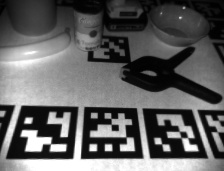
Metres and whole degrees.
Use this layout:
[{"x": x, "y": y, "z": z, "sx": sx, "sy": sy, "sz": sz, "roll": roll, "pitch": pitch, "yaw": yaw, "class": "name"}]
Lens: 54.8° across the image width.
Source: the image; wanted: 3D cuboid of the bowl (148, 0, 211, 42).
[{"x": 0.168, "y": -0.164, "z": 0.563, "sx": 0.162, "sy": 0.055, "sz": 0.161, "roll": 3, "pitch": 52, "yaw": -3, "class": "bowl"}]

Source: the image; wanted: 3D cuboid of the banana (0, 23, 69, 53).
[{"x": -0.183, "y": -0.104, "z": 0.488, "sx": 0.199, "sy": 0.039, "sz": 0.073, "roll": -17, "pitch": 47, "yaw": -21, "class": "banana"}]

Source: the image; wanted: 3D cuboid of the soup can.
[{"x": -0.057, "y": -0.158, "z": 0.504, "sx": 0.068, "sy": 0.102, "sz": 0.067, "roll": 3, "pitch": 43, "yaw": -2, "class": "soup can"}]

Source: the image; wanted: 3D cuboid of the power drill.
[{"x": 0.066, "y": -0.267, "z": 0.526, "sx": 0.185, "sy": 0.187, "sz": 0.057, "roll": -1, "pitch": 51, "yaw": -8, "class": "power drill"}]

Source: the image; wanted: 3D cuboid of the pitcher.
[{"x": -0.172, "y": -0.257, "z": 0.478, "sx": 0.190, "sy": 0.243, "sz": 0.132, "roll": -17, "pitch": 52, "yaw": -18, "class": "pitcher"}]

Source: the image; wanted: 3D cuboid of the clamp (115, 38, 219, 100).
[{"x": 0.108, "y": -0.042, "z": 0.462, "sx": 0.203, "sy": 0.037, "sz": 0.164, "roll": 1, "pitch": 55, "yaw": -6, "class": "clamp"}]
